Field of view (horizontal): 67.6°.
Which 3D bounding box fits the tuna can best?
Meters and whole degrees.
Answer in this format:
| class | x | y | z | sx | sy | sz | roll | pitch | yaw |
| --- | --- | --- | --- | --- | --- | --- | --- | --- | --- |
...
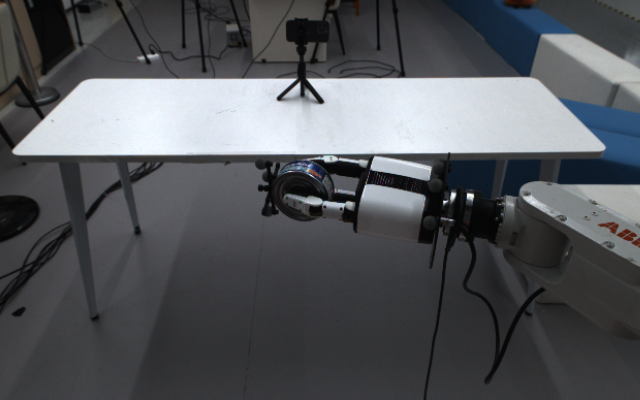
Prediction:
| class | x | y | z | sx | sy | sz | roll | pitch | yaw |
| --- | --- | --- | --- | --- | --- | --- | --- | --- | --- |
| tuna can | -0.025 | -0.015 | 0.690 | 0.085 | 0.085 | 0.034 | 9 | 33 | 10 |
